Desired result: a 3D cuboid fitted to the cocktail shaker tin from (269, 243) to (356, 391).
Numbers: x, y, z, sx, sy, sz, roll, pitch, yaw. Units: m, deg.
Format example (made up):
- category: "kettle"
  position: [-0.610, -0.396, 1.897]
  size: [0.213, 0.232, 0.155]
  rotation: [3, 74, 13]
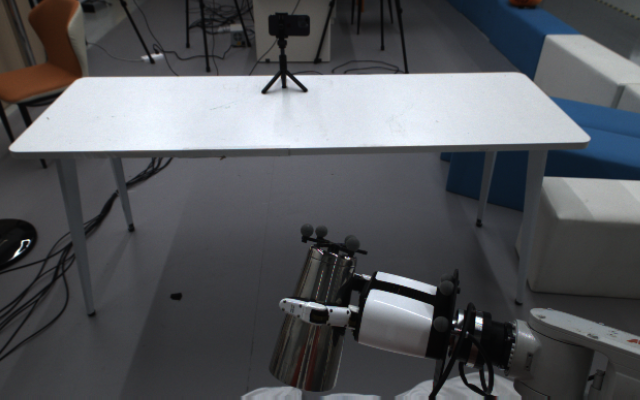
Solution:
- category: "cocktail shaker tin"
  position: [-0.001, 0.150, 0.641]
  size: [0.093, 0.170, 0.093]
  rotation: [13, 3, -1]
